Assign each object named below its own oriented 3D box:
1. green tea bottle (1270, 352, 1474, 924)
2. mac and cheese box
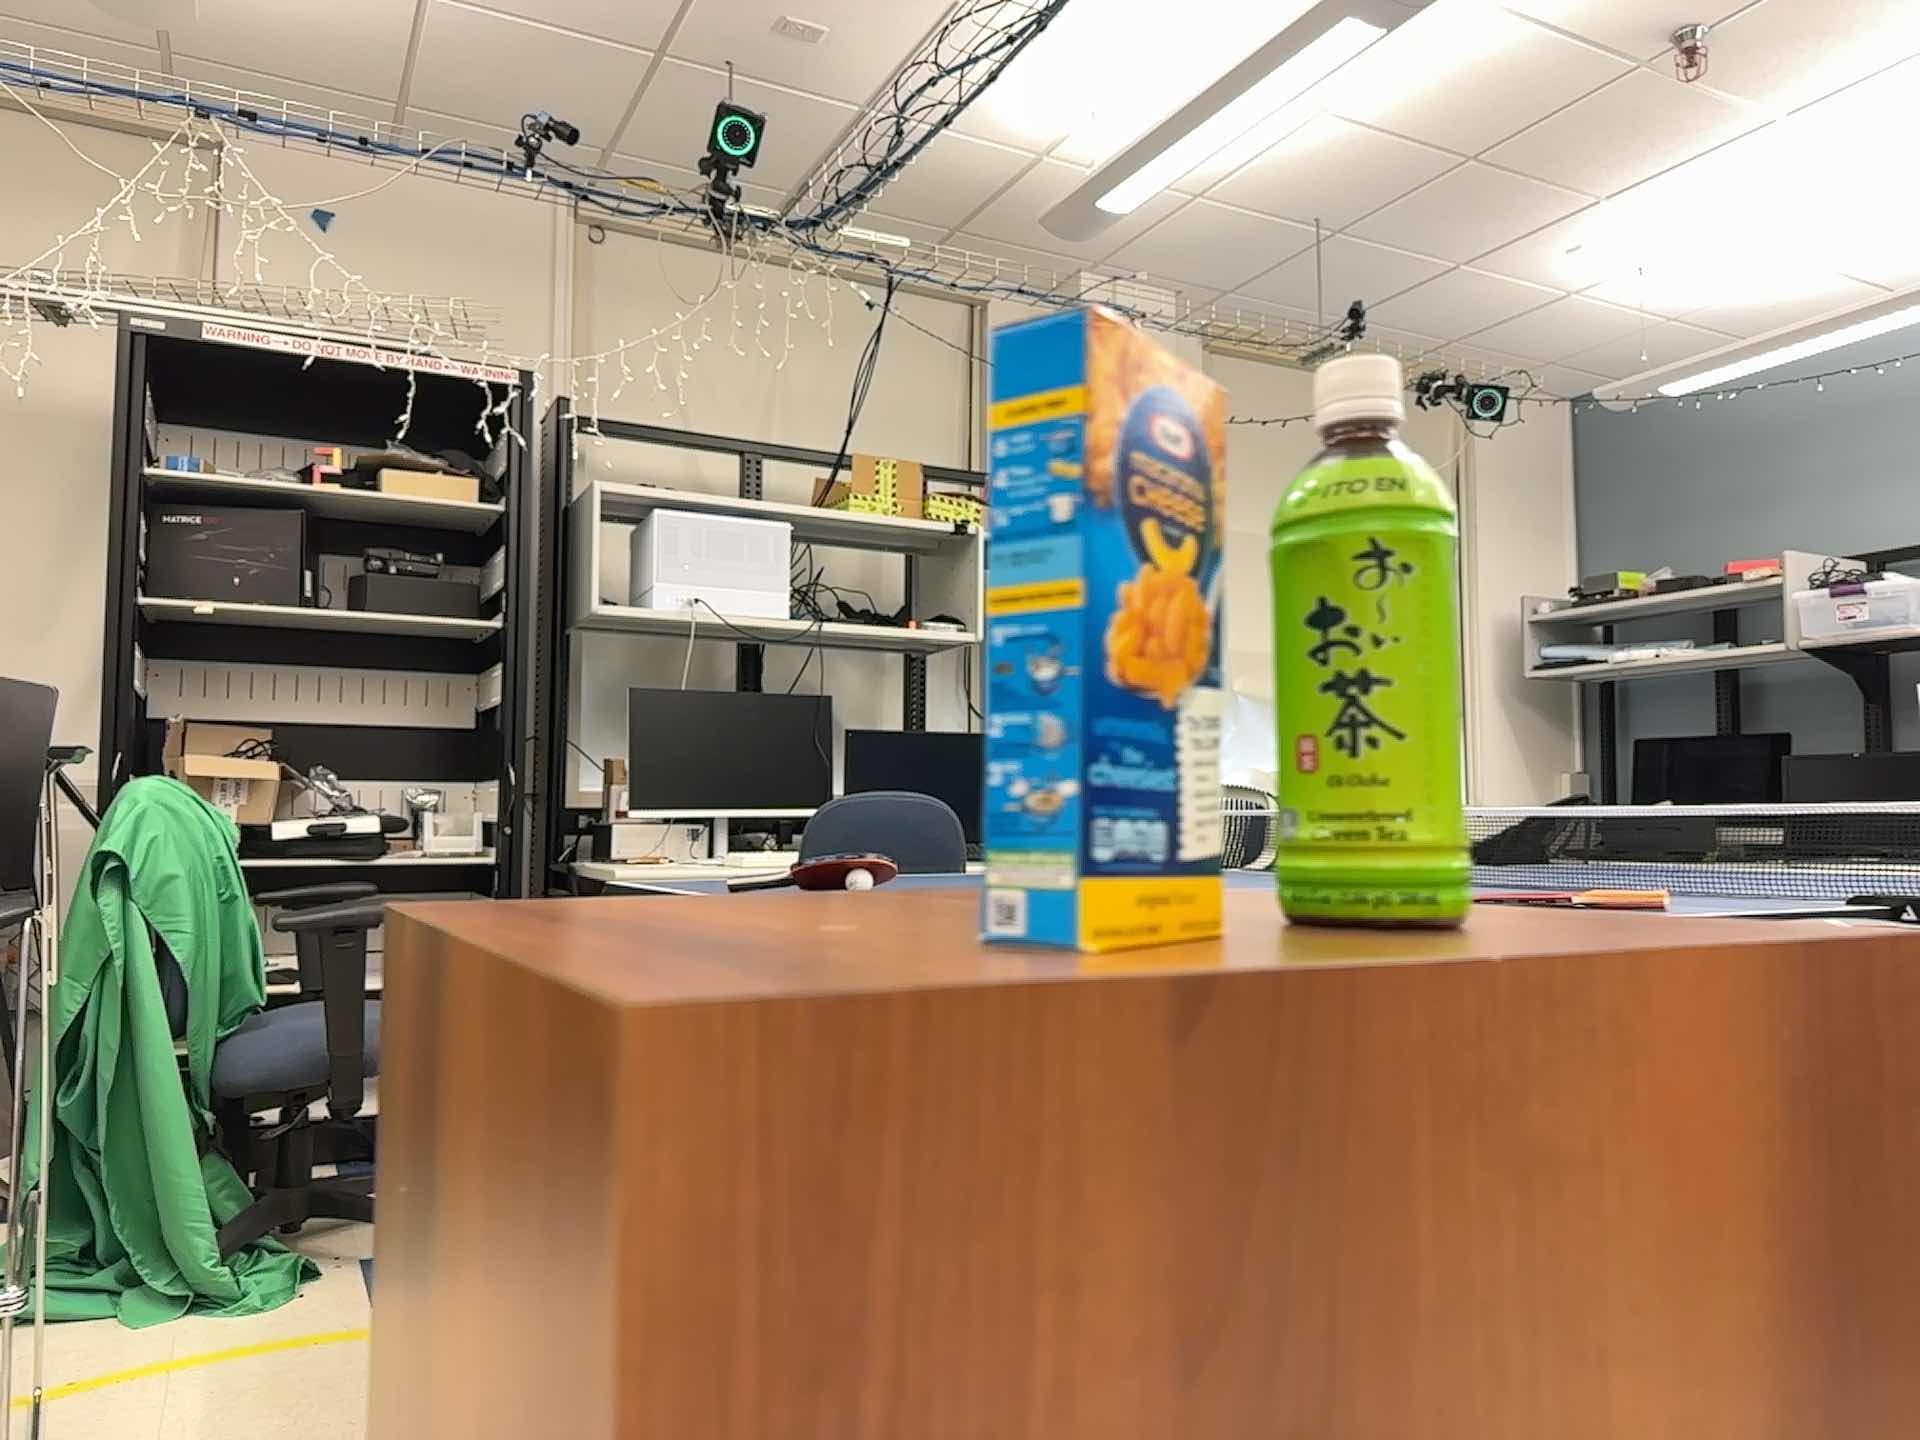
[{"bbox_3d":[0.153,-0.032,0.507,0.073,0.212,0.073,2,-8,0],"label":"green tea bottle"},{"bbox_3d":[0.048,-0.025,0.422,0.035,0.181,0.088,-4,-7,38],"label":"mac and cheese box"}]
